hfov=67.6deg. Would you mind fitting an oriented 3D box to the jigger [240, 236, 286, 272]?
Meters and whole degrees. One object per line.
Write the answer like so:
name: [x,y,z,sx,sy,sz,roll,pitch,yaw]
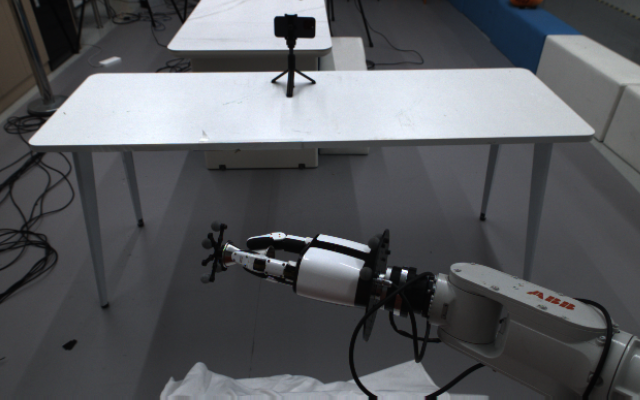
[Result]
jigger: [-0.100,0.083,0.722,0.071,0.043,0.043,6,35,14]
